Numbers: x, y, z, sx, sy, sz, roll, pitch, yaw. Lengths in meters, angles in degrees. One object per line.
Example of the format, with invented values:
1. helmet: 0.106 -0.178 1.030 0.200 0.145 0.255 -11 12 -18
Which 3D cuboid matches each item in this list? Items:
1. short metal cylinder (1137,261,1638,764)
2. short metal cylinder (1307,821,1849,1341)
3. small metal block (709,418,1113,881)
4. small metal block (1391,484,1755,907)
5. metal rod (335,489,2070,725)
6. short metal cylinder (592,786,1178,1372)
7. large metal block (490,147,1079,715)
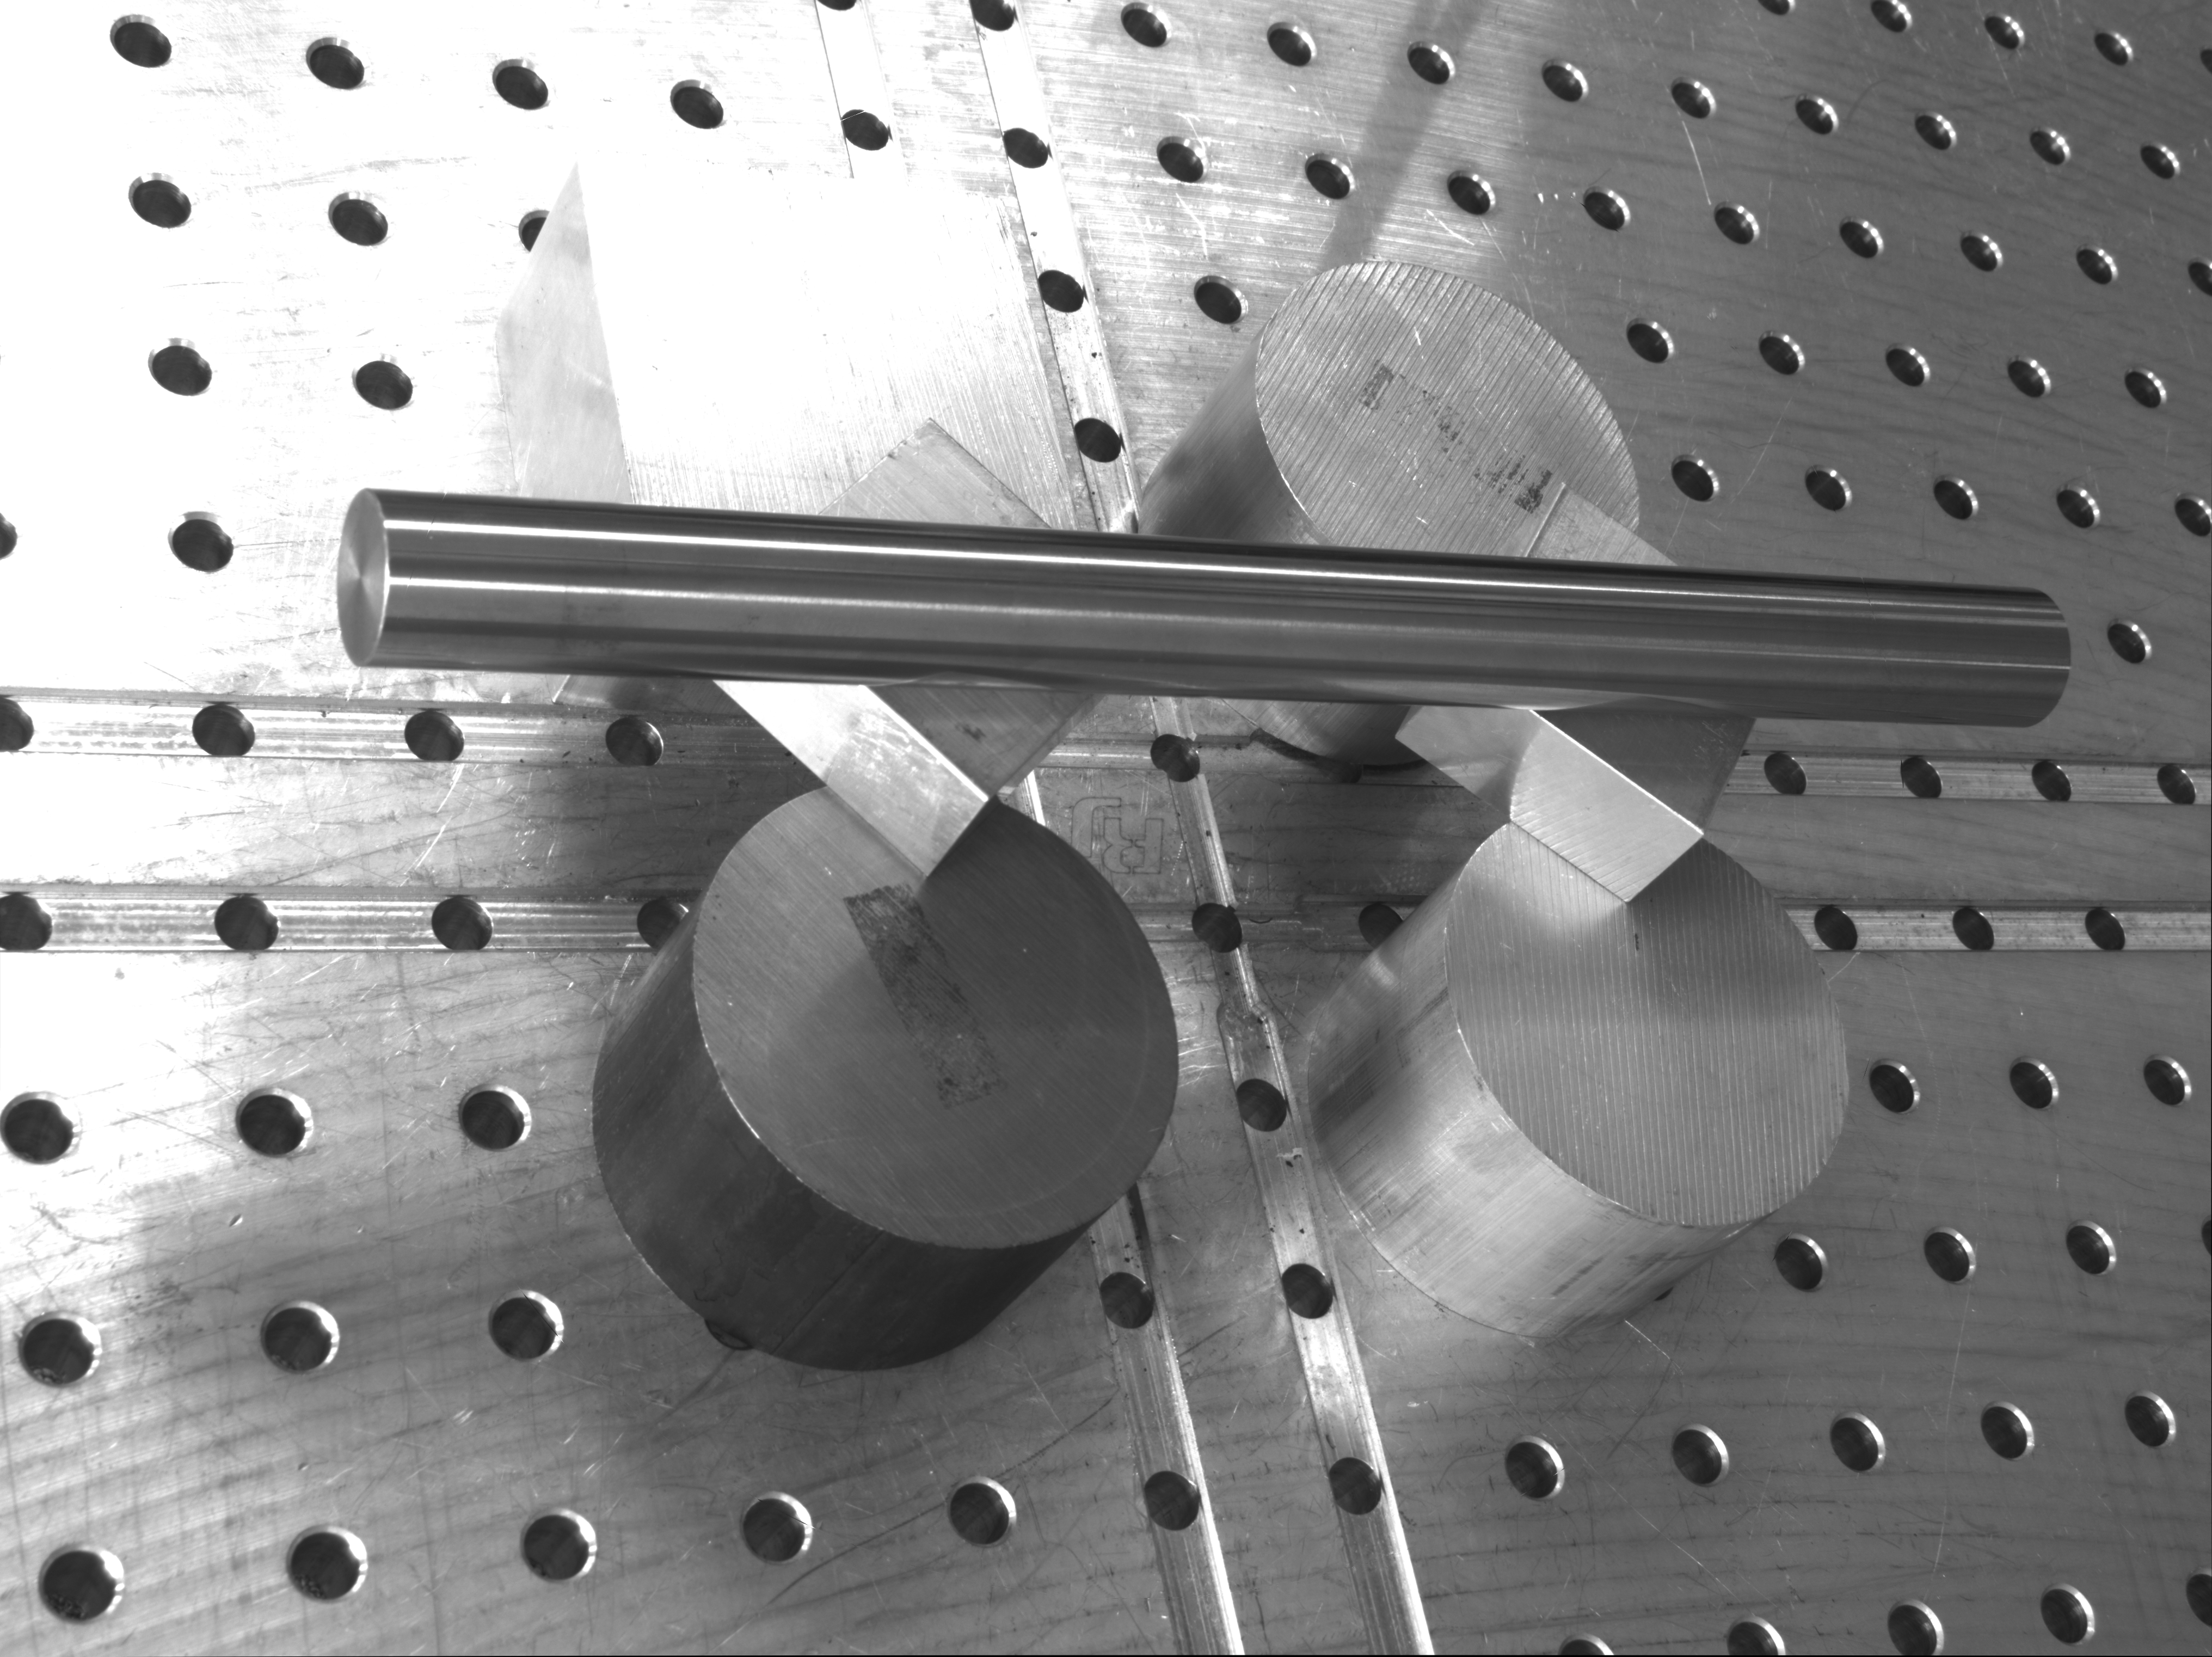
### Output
1. short metal cylinder: 0.053 -0.059 0.690 0.080 0.050 0.080 14 56 -21
2. short metal cylinder: 0.082 0.043 0.644 0.080 0.050 0.080 14 56 -21
3. small metal block: -0.029 -0.029 0.580 0.050 0.025 0.050 43 51 1
4. small metal block: 0.085 -0.023 0.637 0.050 0.025 0.050 35 51 -5
5. metal rod: 0.029 -0.033 0.580 0.301 0.025 0.025 1 61 -28
6. short metal cylinder: -0.035 0.039 0.582 0.080 0.050 0.080 14 56 -21
7. large metal block: -0.056 -0.066 0.635 0.080 0.050 0.080 1 61 -27
